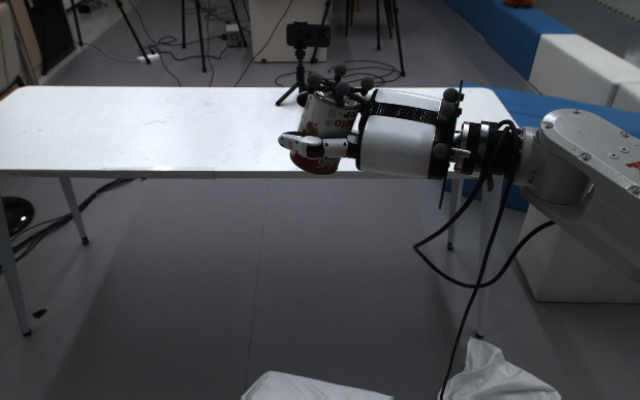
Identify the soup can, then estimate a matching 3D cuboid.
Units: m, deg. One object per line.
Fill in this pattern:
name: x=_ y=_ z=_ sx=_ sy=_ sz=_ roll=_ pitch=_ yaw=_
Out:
soup can: x=0.007 y=-0.092 z=0.620 sx=0.067 sy=0.101 sz=0.067 roll=14 pitch=35 yaw=-10
